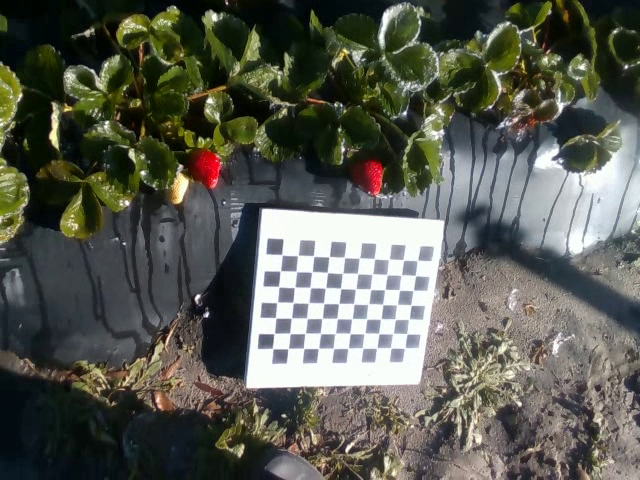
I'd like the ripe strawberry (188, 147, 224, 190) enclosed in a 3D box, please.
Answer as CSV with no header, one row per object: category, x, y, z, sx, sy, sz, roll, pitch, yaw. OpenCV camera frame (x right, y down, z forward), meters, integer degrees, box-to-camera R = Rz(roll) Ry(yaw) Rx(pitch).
ripe strawberry,-0.150,-0.088,0.755,0.042,0.061,0.046,-12,-27,-14

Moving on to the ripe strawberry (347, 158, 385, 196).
ripe strawberry,0.070,-0.090,0.815,0.048,0.061,0.044,-4,-19,-16
